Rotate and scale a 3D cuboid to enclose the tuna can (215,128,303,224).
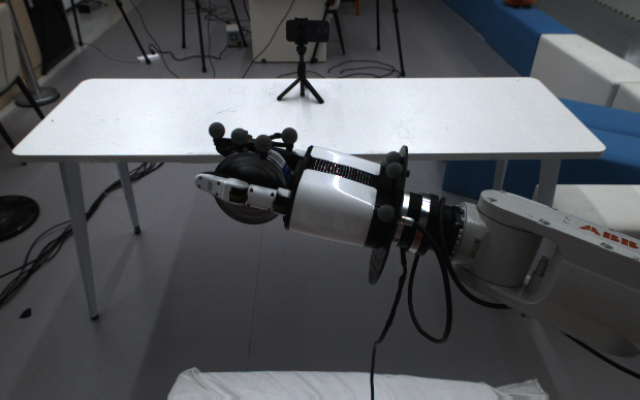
[{"bbox_3d":[-0.072,-0.017,0.542,0.085,0.085,0.034,6,22,6],"label":"tuna can"}]
